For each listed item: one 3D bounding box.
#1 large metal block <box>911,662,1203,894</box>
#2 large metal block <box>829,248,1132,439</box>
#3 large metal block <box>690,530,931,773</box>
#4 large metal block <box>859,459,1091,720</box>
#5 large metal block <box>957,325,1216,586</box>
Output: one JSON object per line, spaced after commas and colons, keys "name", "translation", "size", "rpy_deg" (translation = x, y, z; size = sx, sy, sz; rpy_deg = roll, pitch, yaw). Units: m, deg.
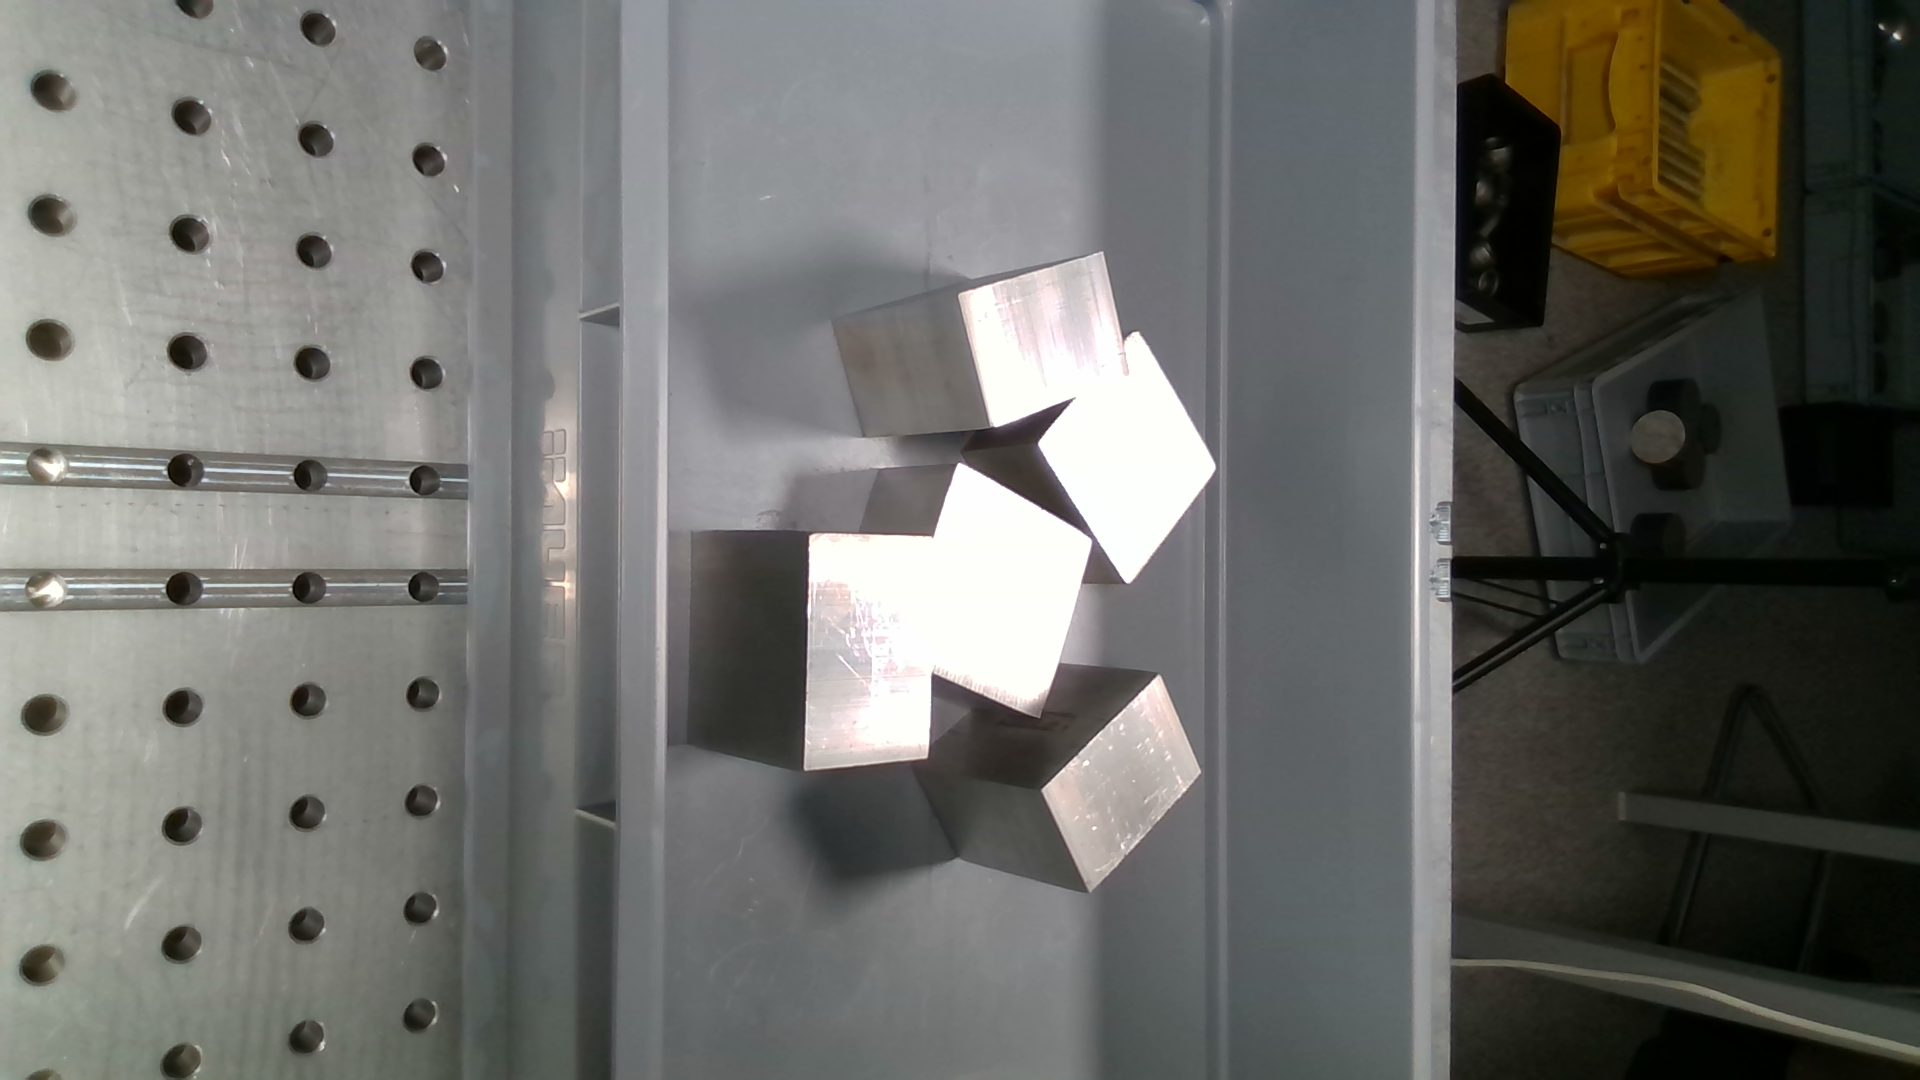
{"name": "large metal block", "translation": [0.040, 0.096, 0.580], "size": [0.080, 0.080, 0.050], "rpy_deg": [-38, 113, -34]}
{"name": "large metal block", "translation": [0.008, -0.078, 0.553], "size": [0.080, 0.080, 0.050], "rpy_deg": [-24, 105, -38]}
{"name": "large metal block", "translation": [-0.056, 0.037, 0.500], "size": [0.050, 0.080, 0.080], "rpy_deg": [1, 89, -40]}
{"name": "large metal block", "translation": [-0.001, 0.021, 0.565], "size": [0.080, 0.050, 0.080], "rpy_deg": [28, 72, -37]}
{"name": "large metal block", "translation": [0.058, -0.036, 0.614], "size": [0.080, 0.050, 0.080], "rpy_deg": [-50, 120, -29]}
